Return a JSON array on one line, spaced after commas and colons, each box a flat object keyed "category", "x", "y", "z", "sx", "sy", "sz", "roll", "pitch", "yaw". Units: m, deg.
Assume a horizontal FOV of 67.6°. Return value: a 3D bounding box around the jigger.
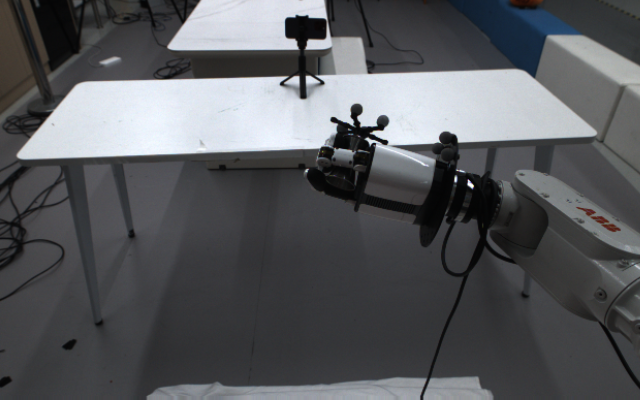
[{"category": "jigger", "x": 0.040, "y": -0.055, "z": 0.671, "sx": 0.043, "sy": 0.043, "sz": 0.071, "roll": 15, "pitch": 70, "yaw": 18}]
